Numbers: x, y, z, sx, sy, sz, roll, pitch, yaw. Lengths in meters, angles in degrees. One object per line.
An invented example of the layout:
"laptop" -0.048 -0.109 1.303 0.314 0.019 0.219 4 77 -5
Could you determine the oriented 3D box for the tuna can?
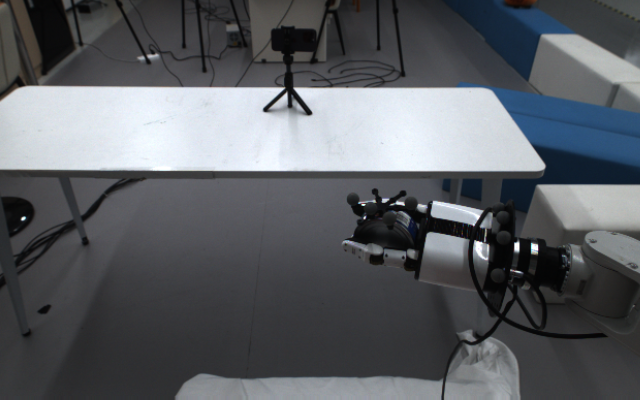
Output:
"tuna can" 0.094 0.047 0.673 0.085 0.085 0.034 14 41 16
